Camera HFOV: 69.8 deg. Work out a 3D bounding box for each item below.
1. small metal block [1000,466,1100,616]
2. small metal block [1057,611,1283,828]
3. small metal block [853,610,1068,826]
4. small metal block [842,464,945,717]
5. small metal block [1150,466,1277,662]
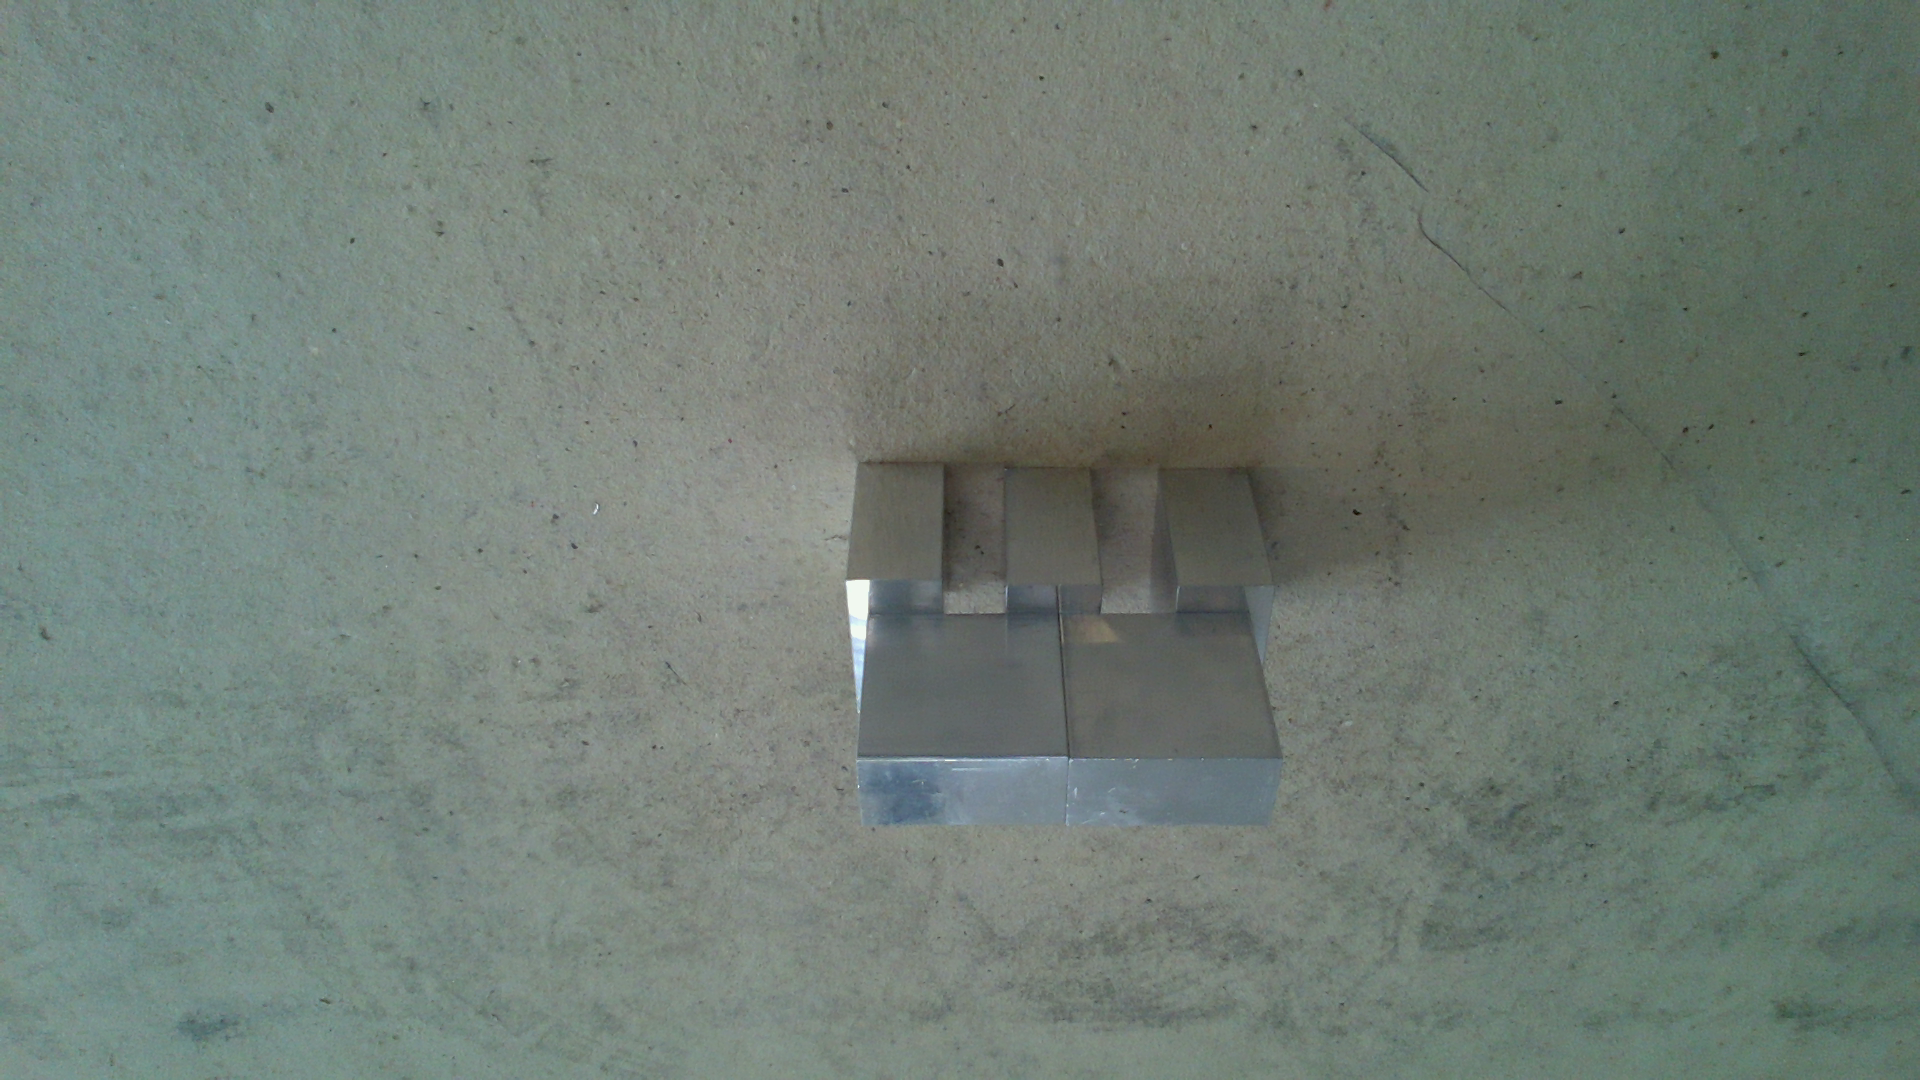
[{"bbox_3d":[0.024,0.014,0.388,0.025,0.050,0.050,-1,130,1],"label":"small metal block"},{"bbox_3d":[0.050,0.045,0.347,0.050,0.050,0.025,0,130,0],"label":"small metal block"},{"bbox_3d":[0.000,0.044,0.347,0.050,0.050,0.025,0,130,0],"label":"small metal block"},{"bbox_3d":[-0.017,0.014,0.386,0.025,0.050,0.050,0,130,1],"label":"small metal block"},{"bbox_3d":[0.070,0.014,0.388,0.025,0.050,0.050,-1,130,1],"label":"small metal block"}]
